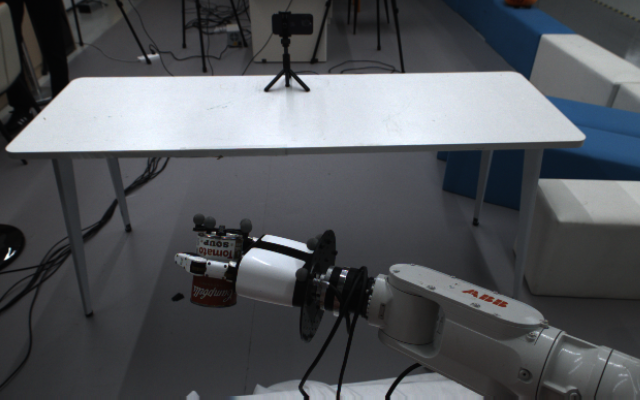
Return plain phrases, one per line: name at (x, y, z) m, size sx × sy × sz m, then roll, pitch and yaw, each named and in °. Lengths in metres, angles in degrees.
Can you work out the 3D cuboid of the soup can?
soup can at (-0.150, 0.100, 0.706) m, size 0.067 × 0.101 × 0.067 m, roll 7°, pitch 3°, yaw 0°
